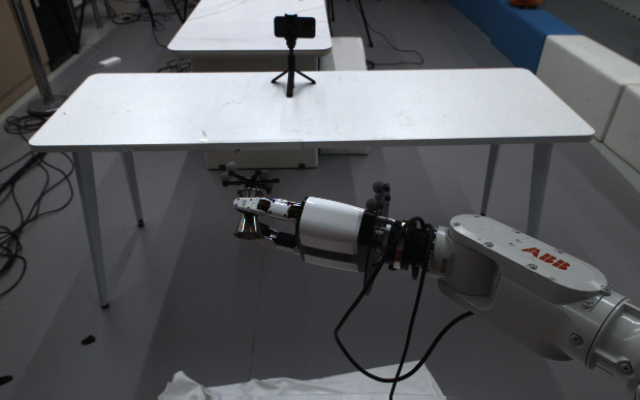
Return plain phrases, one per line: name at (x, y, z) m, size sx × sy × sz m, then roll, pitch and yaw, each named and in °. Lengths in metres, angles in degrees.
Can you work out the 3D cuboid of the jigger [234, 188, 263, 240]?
jigger at (-0.105, 0.019, 0.717) m, size 0.043 × 0.043 × 0.071 m, roll 1°, pitch 71°, yaw -2°
